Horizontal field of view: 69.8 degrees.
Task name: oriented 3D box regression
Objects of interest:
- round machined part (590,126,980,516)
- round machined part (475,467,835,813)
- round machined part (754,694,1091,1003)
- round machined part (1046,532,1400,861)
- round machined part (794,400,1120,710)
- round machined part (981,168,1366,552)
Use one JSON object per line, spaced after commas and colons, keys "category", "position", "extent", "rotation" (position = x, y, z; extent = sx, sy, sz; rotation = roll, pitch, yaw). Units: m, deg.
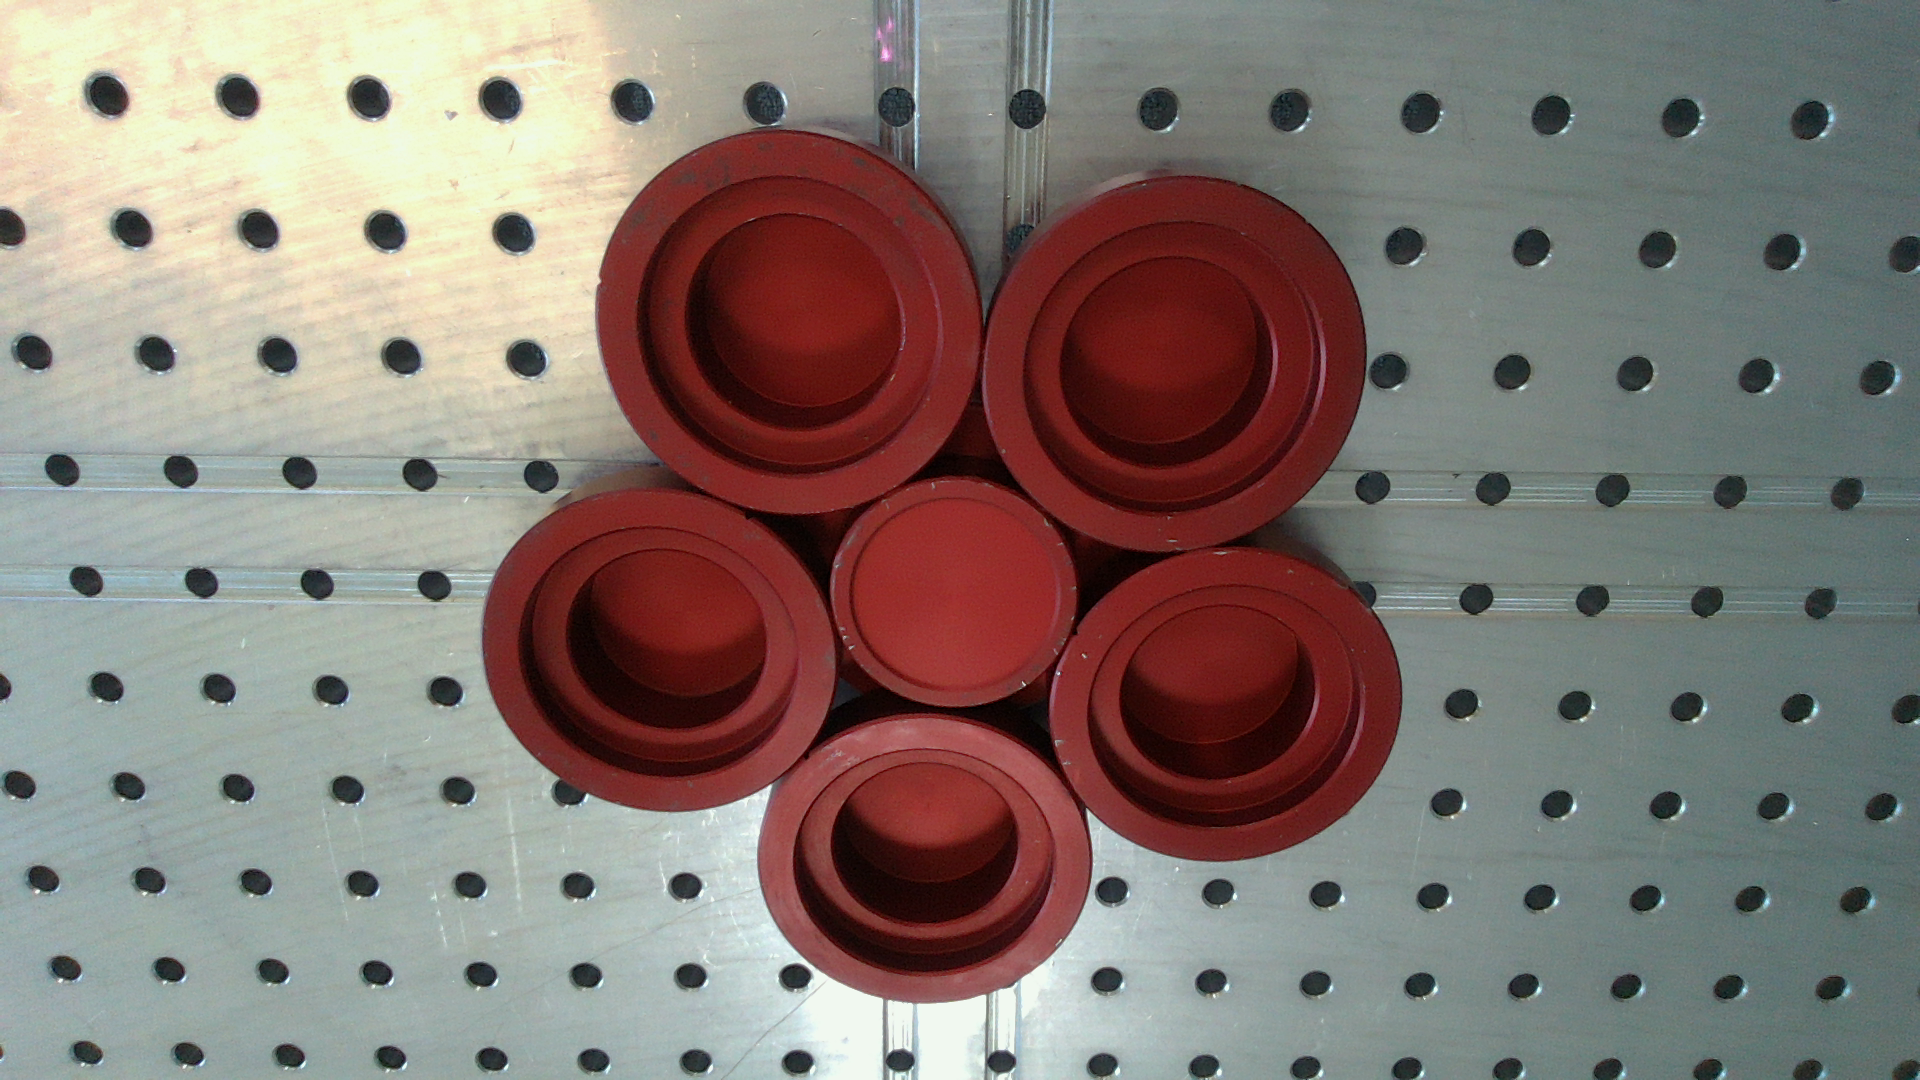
{"category": "round machined part", "position": [-0.044, -0.059, 0.365], "extent": [0.098, 0.042, 0.098], "rotation": [0, 110, 0]}
{"category": "round machined part", "position": [-0.083, 0.025, 0.396], "extent": [0.098, 0.042, 0.098], "rotation": [0, 110, 0]}
{"category": "round machined part", "position": [-0.011, 0.088, 0.419], "extent": [0.098, 0.042, 0.098], "rotation": [0, 110, 0]}
{"category": "round machined part", "position": [0.074, 0.041, 0.403], "extent": [0.098, 0.042, 0.098], "rotation": [0, 110, 0]}
{"category": "round machined part", "position": [-0.002, 0.008, 0.390], "extent": [0.098, 0.042, 0.098], "rotation": [0, 110, 0]}
{"category": "round machined part", "position": [0.054, -0.050, 0.369], "extent": [0.098, 0.042, 0.098], "rotation": [0, 110, 0]}
